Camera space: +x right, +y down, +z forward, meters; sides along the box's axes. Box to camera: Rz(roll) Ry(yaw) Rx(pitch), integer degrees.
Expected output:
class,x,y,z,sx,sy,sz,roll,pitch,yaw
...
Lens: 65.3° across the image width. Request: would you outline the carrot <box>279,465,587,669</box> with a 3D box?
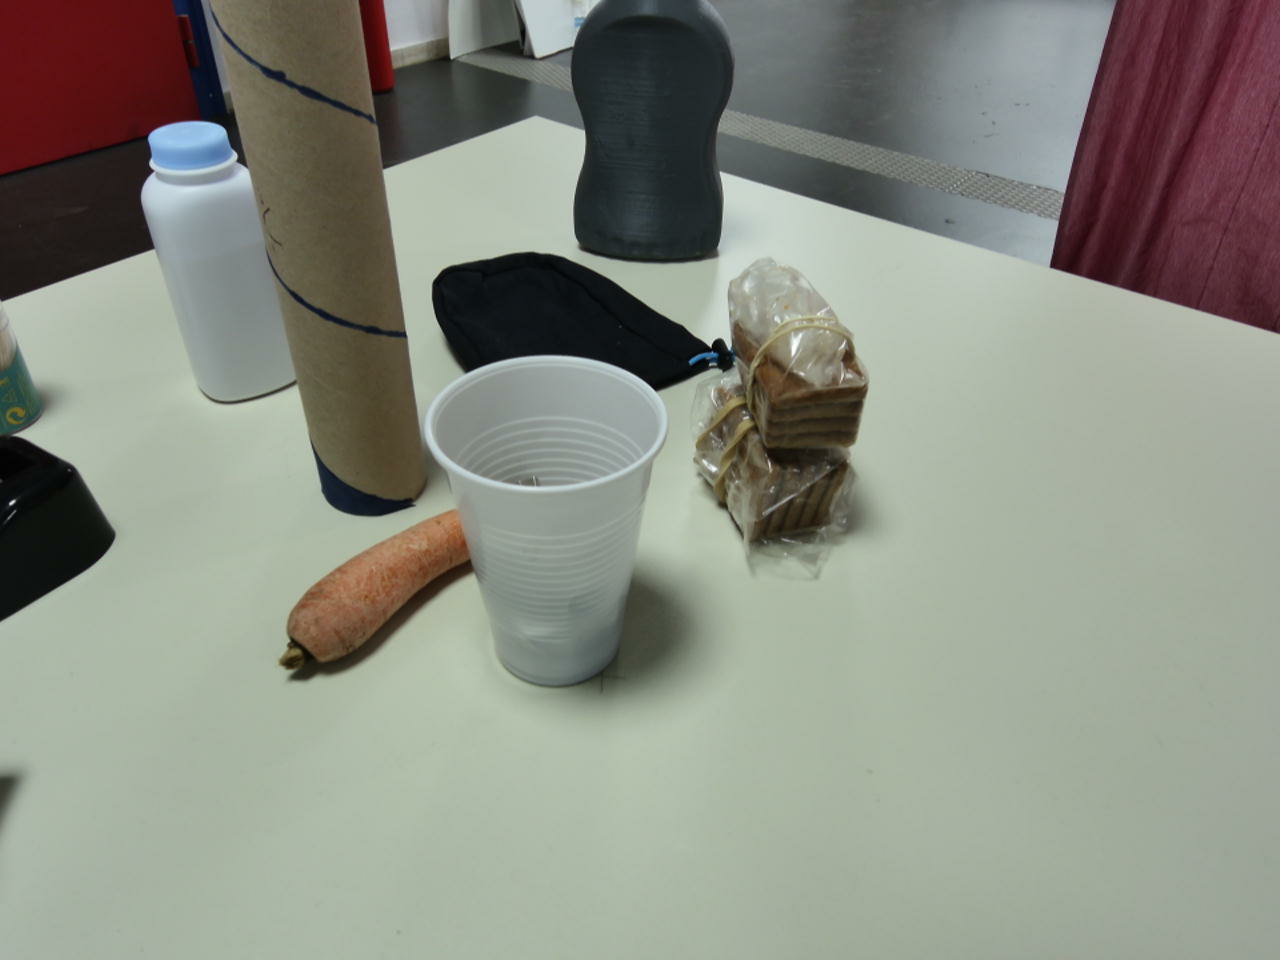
class,x,y,z,sx,sy,sz,roll,pitch,yaw
carrot,-0.081,0.026,0.417,0.031,0.029,0.163,25,43,30
